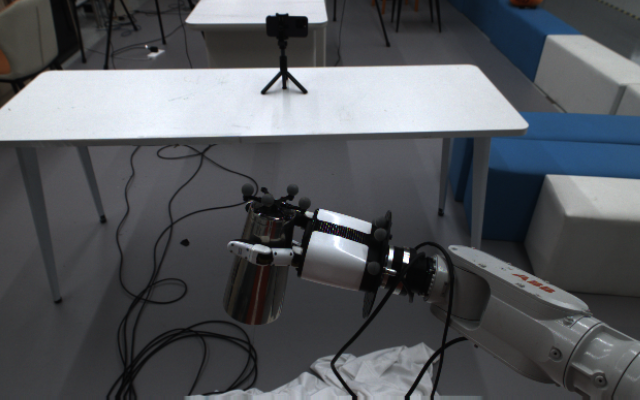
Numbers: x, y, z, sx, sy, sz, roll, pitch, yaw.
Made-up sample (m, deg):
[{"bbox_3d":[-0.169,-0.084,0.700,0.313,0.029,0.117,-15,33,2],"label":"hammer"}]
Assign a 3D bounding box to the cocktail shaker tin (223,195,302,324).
[{"bbox_3d":[-0.081,0.084,0.710,0.093,0.170,0.093,12,25,-6],"label":"cocktail shaker tin"}]
